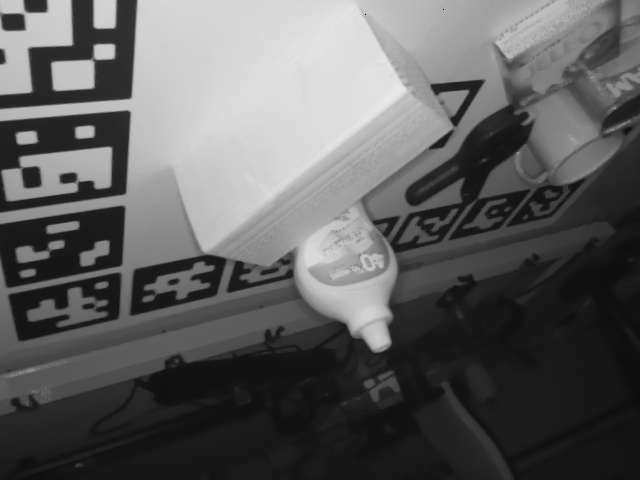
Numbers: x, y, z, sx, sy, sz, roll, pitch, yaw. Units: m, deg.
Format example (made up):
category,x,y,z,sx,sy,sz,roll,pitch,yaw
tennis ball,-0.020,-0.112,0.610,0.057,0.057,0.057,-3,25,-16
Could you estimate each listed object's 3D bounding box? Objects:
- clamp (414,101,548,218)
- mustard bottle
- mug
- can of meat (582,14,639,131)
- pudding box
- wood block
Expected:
category,x,y,z,sx,sy,sz,roll,pitch,yaw
clamp,0.190,-0.088,0.763,0.124,0.036,0.162,4,136,-37
mustard bottle,0.024,0.016,0.636,0.097,0.191,0.058,-14,147,-19
mug,0.274,-0.123,0.764,0.095,0.081,0.115,5,135,-41
can of meat,0.316,-0.168,0.673,0.102,0.084,0.058,-28,148,3
pudding box,0.221,-0.185,0.631,0.113,0.039,0.090,-32,148,12
wood block,-0.013,-0.082,0.569,0.204,0.091,0.091,-38,149,22
